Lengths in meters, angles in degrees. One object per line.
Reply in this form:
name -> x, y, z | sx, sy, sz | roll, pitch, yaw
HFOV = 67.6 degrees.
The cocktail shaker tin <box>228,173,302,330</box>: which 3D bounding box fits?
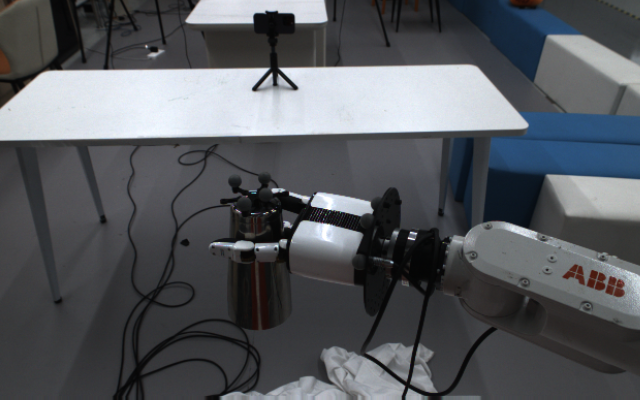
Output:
cocktail shaker tin -> -0.082, 0.077, 0.660 | 0.093, 0.170, 0.093 | 1, 26, -1
